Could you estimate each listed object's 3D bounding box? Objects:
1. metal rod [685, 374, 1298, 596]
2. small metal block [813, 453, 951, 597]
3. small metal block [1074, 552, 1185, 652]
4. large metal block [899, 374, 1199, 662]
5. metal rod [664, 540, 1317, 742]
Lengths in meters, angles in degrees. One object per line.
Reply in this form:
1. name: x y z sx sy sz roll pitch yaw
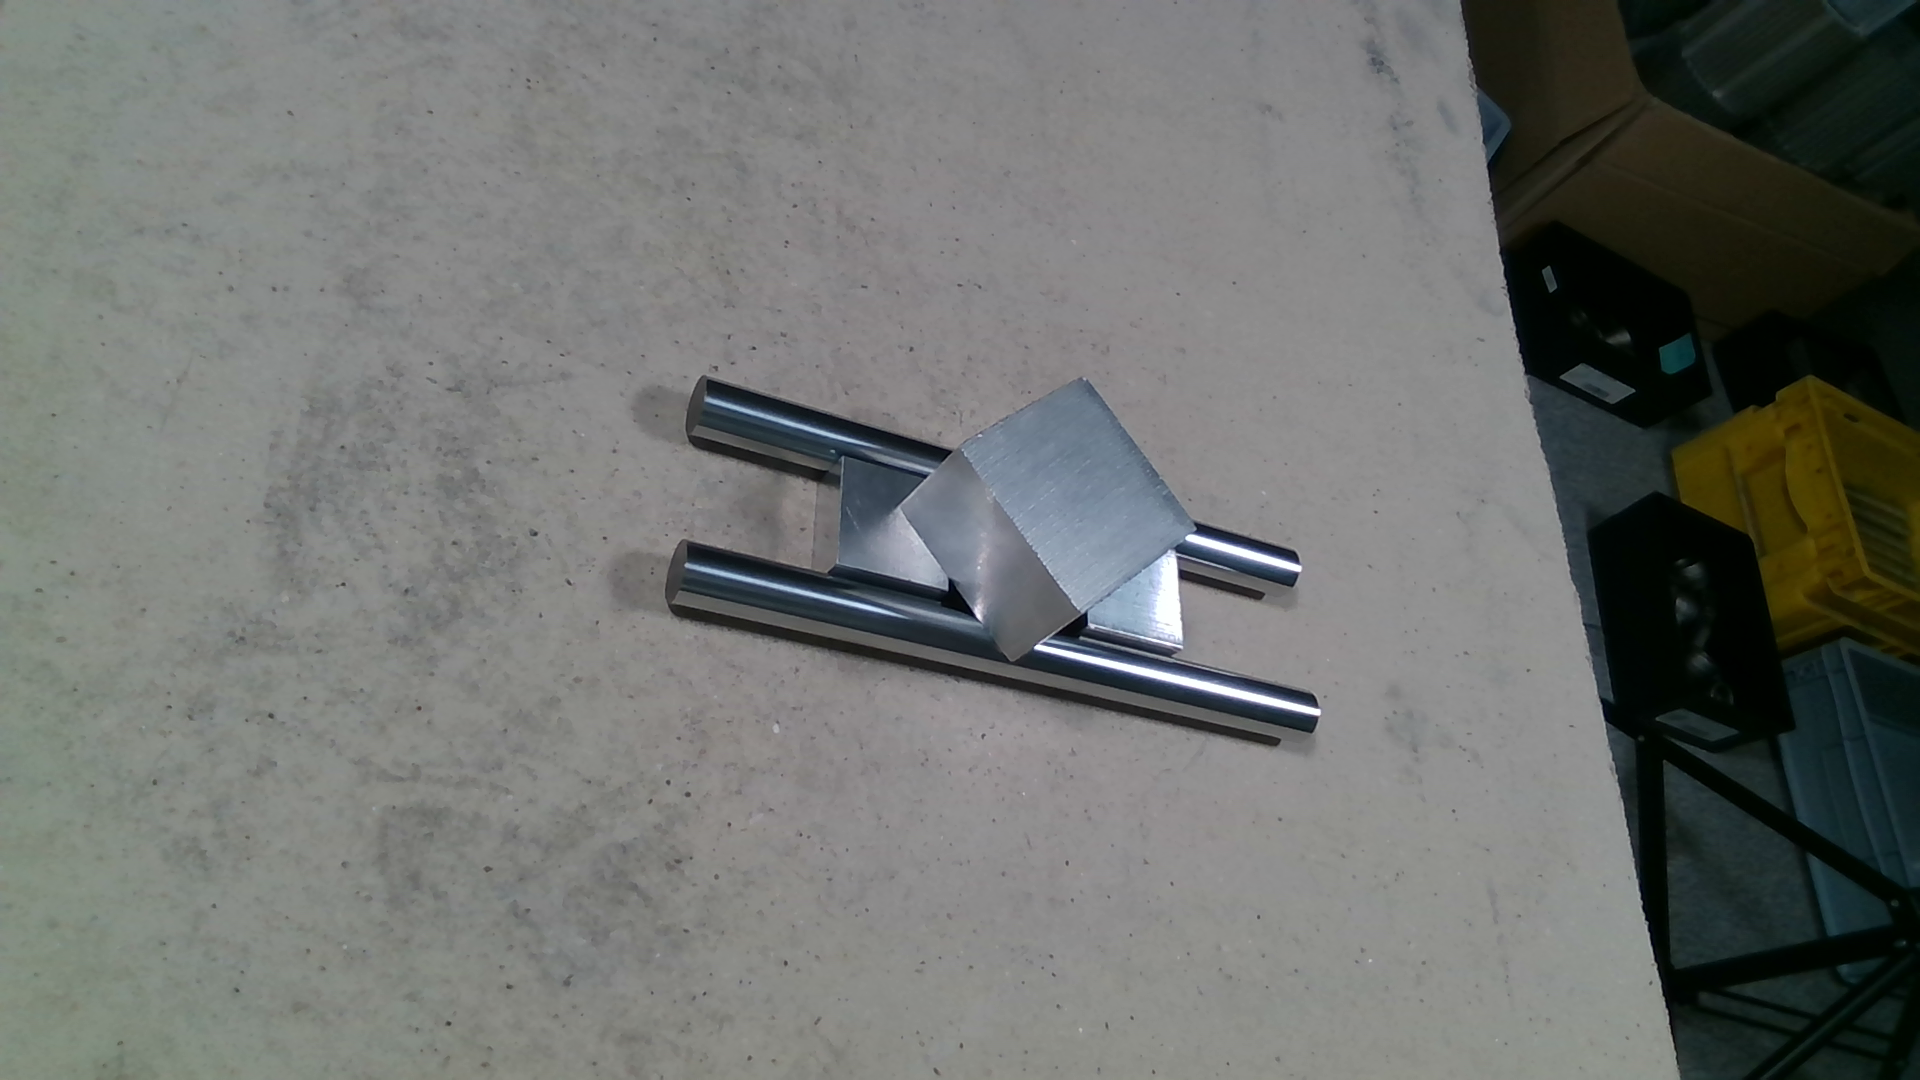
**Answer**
1. metal rod: 0.026 -0.019 0.613 0.300 0.025 0.025 15 58 -25
2. small metal block: -0.032 -0.002 0.567 0.050 0.025 0.050 15 58 -24
3. small metal block: 0.071 0.025 0.615 0.050 0.025 0.050 15 58 -24
4. large metal block: 0.037 -0.010 0.563 0.080 0.050 0.080 -32 84 -39
5. metal rod: 0.025 0.047 0.577 0.300 0.025 0.025 15 58 -25
